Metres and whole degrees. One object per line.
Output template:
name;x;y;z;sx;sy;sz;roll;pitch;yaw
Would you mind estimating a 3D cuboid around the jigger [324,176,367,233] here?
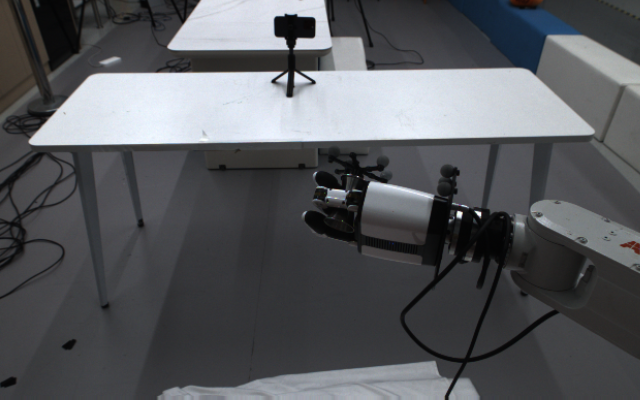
jigger;0.039;0.004;0.649;0.043;0.043;0.071;13;70;16
